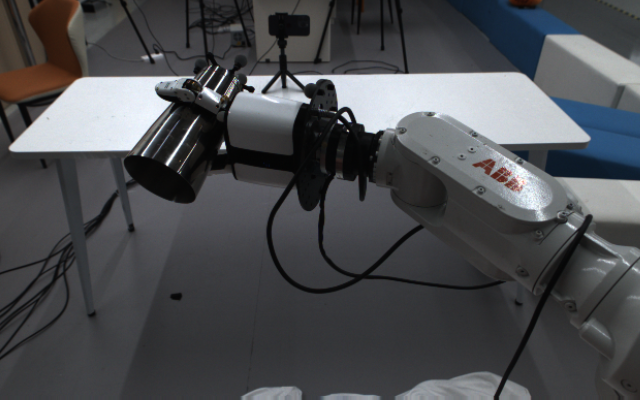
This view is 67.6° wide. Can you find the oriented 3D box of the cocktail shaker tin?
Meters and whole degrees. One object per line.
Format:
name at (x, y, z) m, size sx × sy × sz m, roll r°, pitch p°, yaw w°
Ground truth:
cocktail shaker tin at (-0.163, -0.091, 0.613) m, size 0.093 × 0.093 × 0.170 m, roll 13°, pitch 58°, yaw 15°
